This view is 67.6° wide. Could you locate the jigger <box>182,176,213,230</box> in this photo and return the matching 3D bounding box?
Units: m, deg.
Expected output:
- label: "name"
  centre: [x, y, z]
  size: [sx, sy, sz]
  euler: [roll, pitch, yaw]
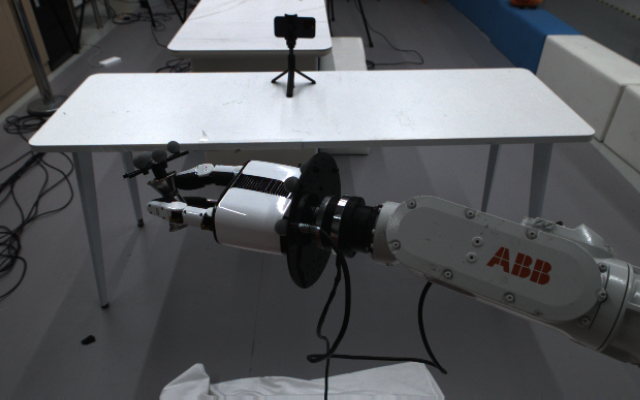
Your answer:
- label: "jigger"
  centre: [-0.185, -0.001, 0.627]
  size: [0.043, 0.071, 0.043]
  euler: [-21, 16, 6]
